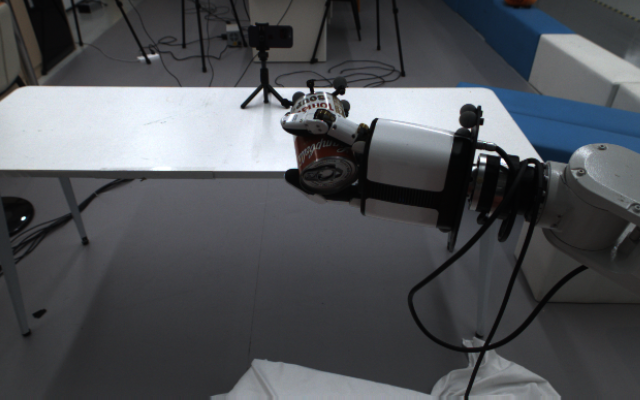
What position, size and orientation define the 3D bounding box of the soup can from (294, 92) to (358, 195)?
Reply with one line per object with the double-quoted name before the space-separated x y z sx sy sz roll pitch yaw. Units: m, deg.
"soup can" 0.005 -0.068 0.564 0.067 0.067 0.101 -5 57 -10
